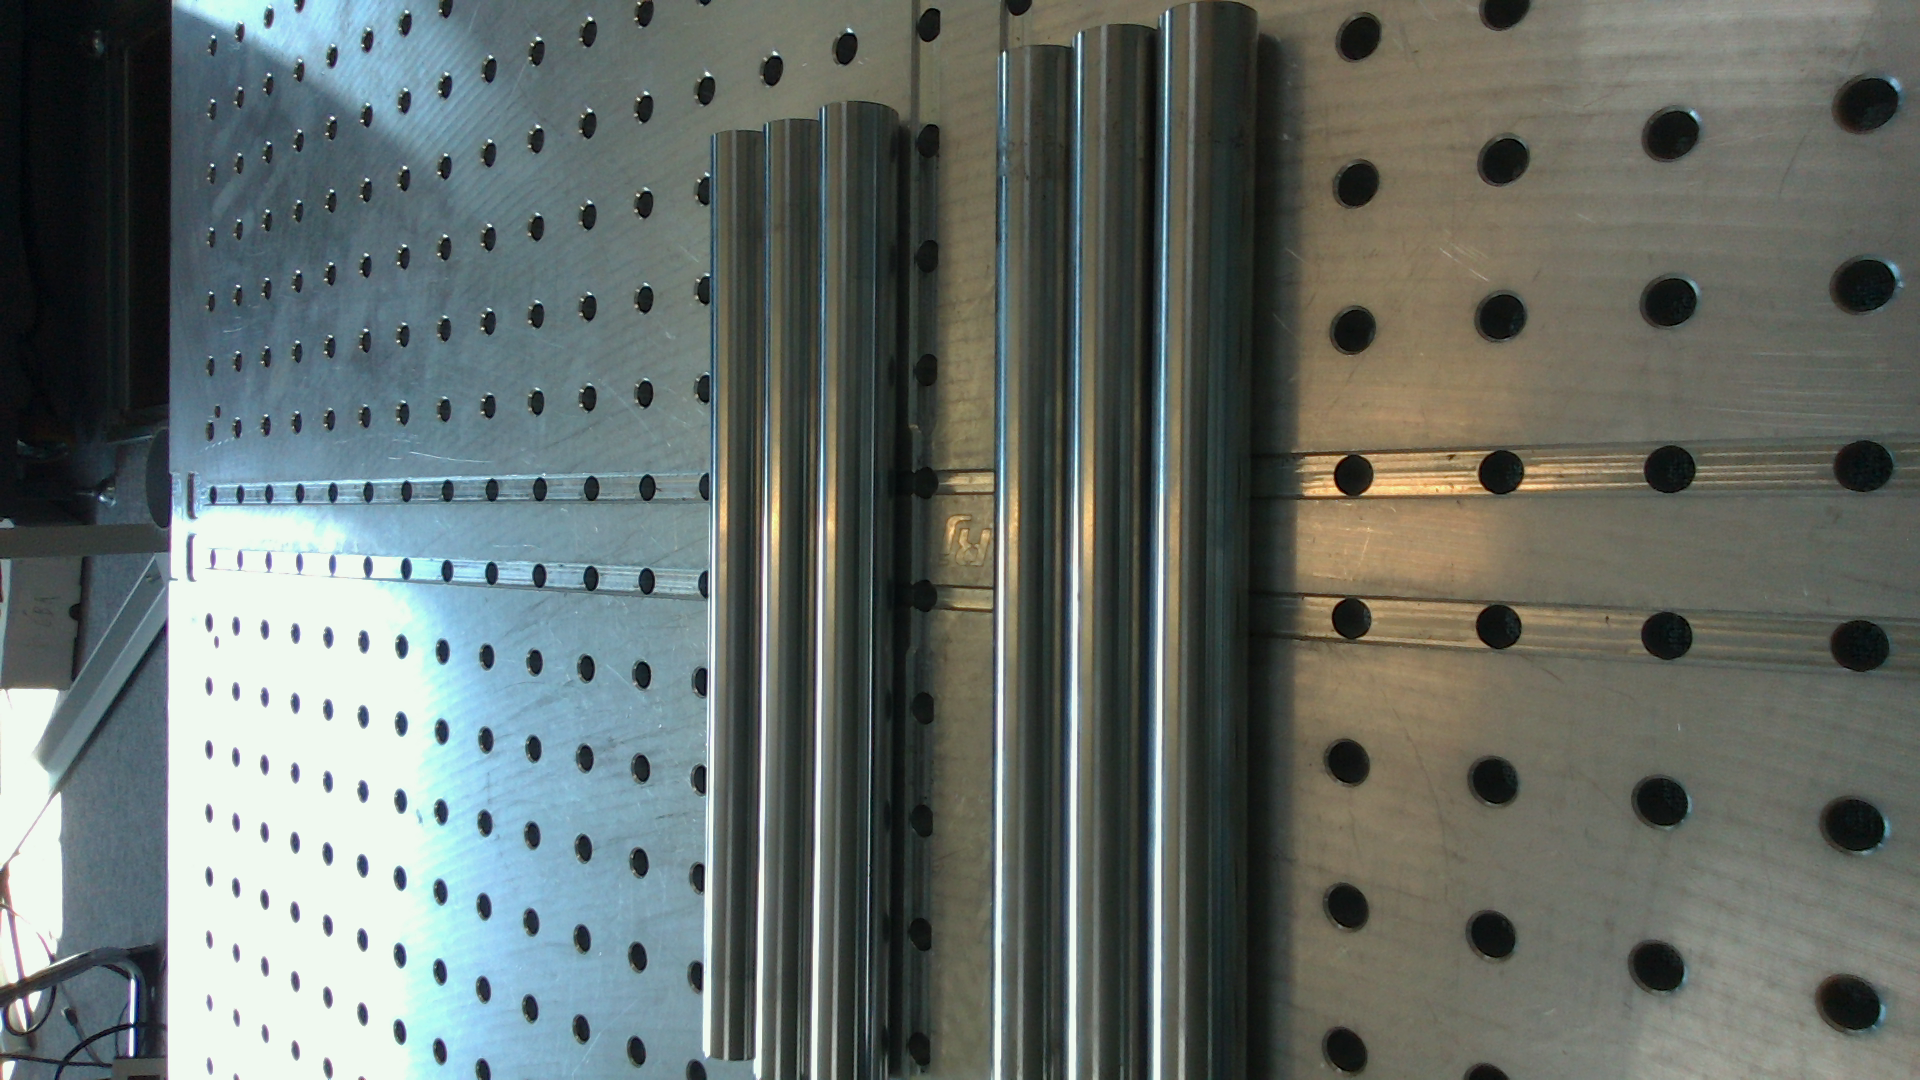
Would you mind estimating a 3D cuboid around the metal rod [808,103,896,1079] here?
[{"bbox_3d":[-0.033,0.019,0.425,0.025,0.025,0.300,1,91,40],"label":"metal rod"}]

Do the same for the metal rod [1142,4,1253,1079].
[{"bbox_3d":[0.060,0.020,0.347,0.025,0.025,0.300,1,91,40],"label":"metal rod"}]

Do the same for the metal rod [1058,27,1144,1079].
[{"bbox_3d":[0.039,0.019,0.364,0.025,0.025,0.300,1,91,40],"label":"metal rod"}]

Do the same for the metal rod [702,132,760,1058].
[{"bbox_3d":[-0.072,0.018,0.458,0.025,0.025,0.300,1,91,40],"label":"metal rod"}]

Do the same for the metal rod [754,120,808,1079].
[{"bbox_3d":[-0.052,0.019,0.441,0.025,0.025,0.300,1,91,40],"label":"metal rod"}]

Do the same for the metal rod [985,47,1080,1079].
[{"bbox_3d":[0.020,0.018,0.380,0.025,0.025,0.300,1,91,40],"label":"metal rod"}]
